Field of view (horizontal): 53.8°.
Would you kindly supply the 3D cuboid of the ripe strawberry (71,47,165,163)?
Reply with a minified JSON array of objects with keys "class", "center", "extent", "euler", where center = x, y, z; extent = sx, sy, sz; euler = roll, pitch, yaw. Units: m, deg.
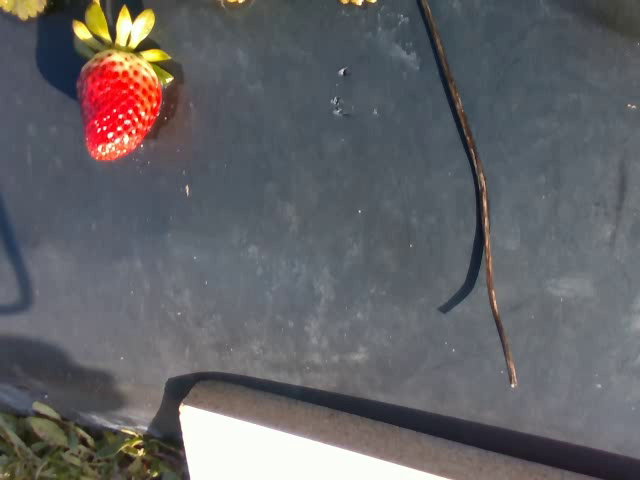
[{"class":"ripe strawberry","center":[-0.062,-0.039,0.190],"extent":[0.028,0.041,0.031],"euler":[-15,-37,31]}]
